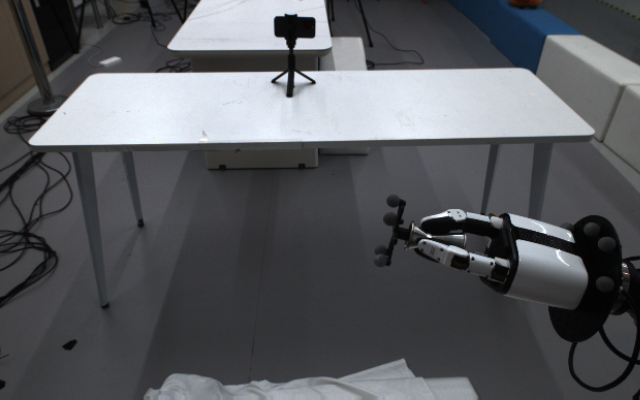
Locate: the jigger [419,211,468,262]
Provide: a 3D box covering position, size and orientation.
[{"bbox_3d":[0.151,0.051,0.612,0.071,0.043,0.043,14,36,4],"label":"jigger"}]
